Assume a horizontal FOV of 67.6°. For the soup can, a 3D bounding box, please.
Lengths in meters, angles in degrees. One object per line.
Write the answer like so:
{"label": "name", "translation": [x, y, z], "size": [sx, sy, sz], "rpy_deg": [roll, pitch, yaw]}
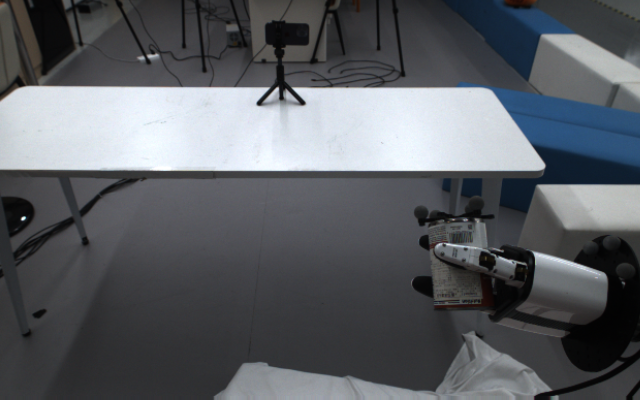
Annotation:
{"label": "soup can", "translation": [0.164, 0.075, 0.563], "size": [0.067, 0.067, 0.101], "rpy_deg": [0, 75, -2]}
